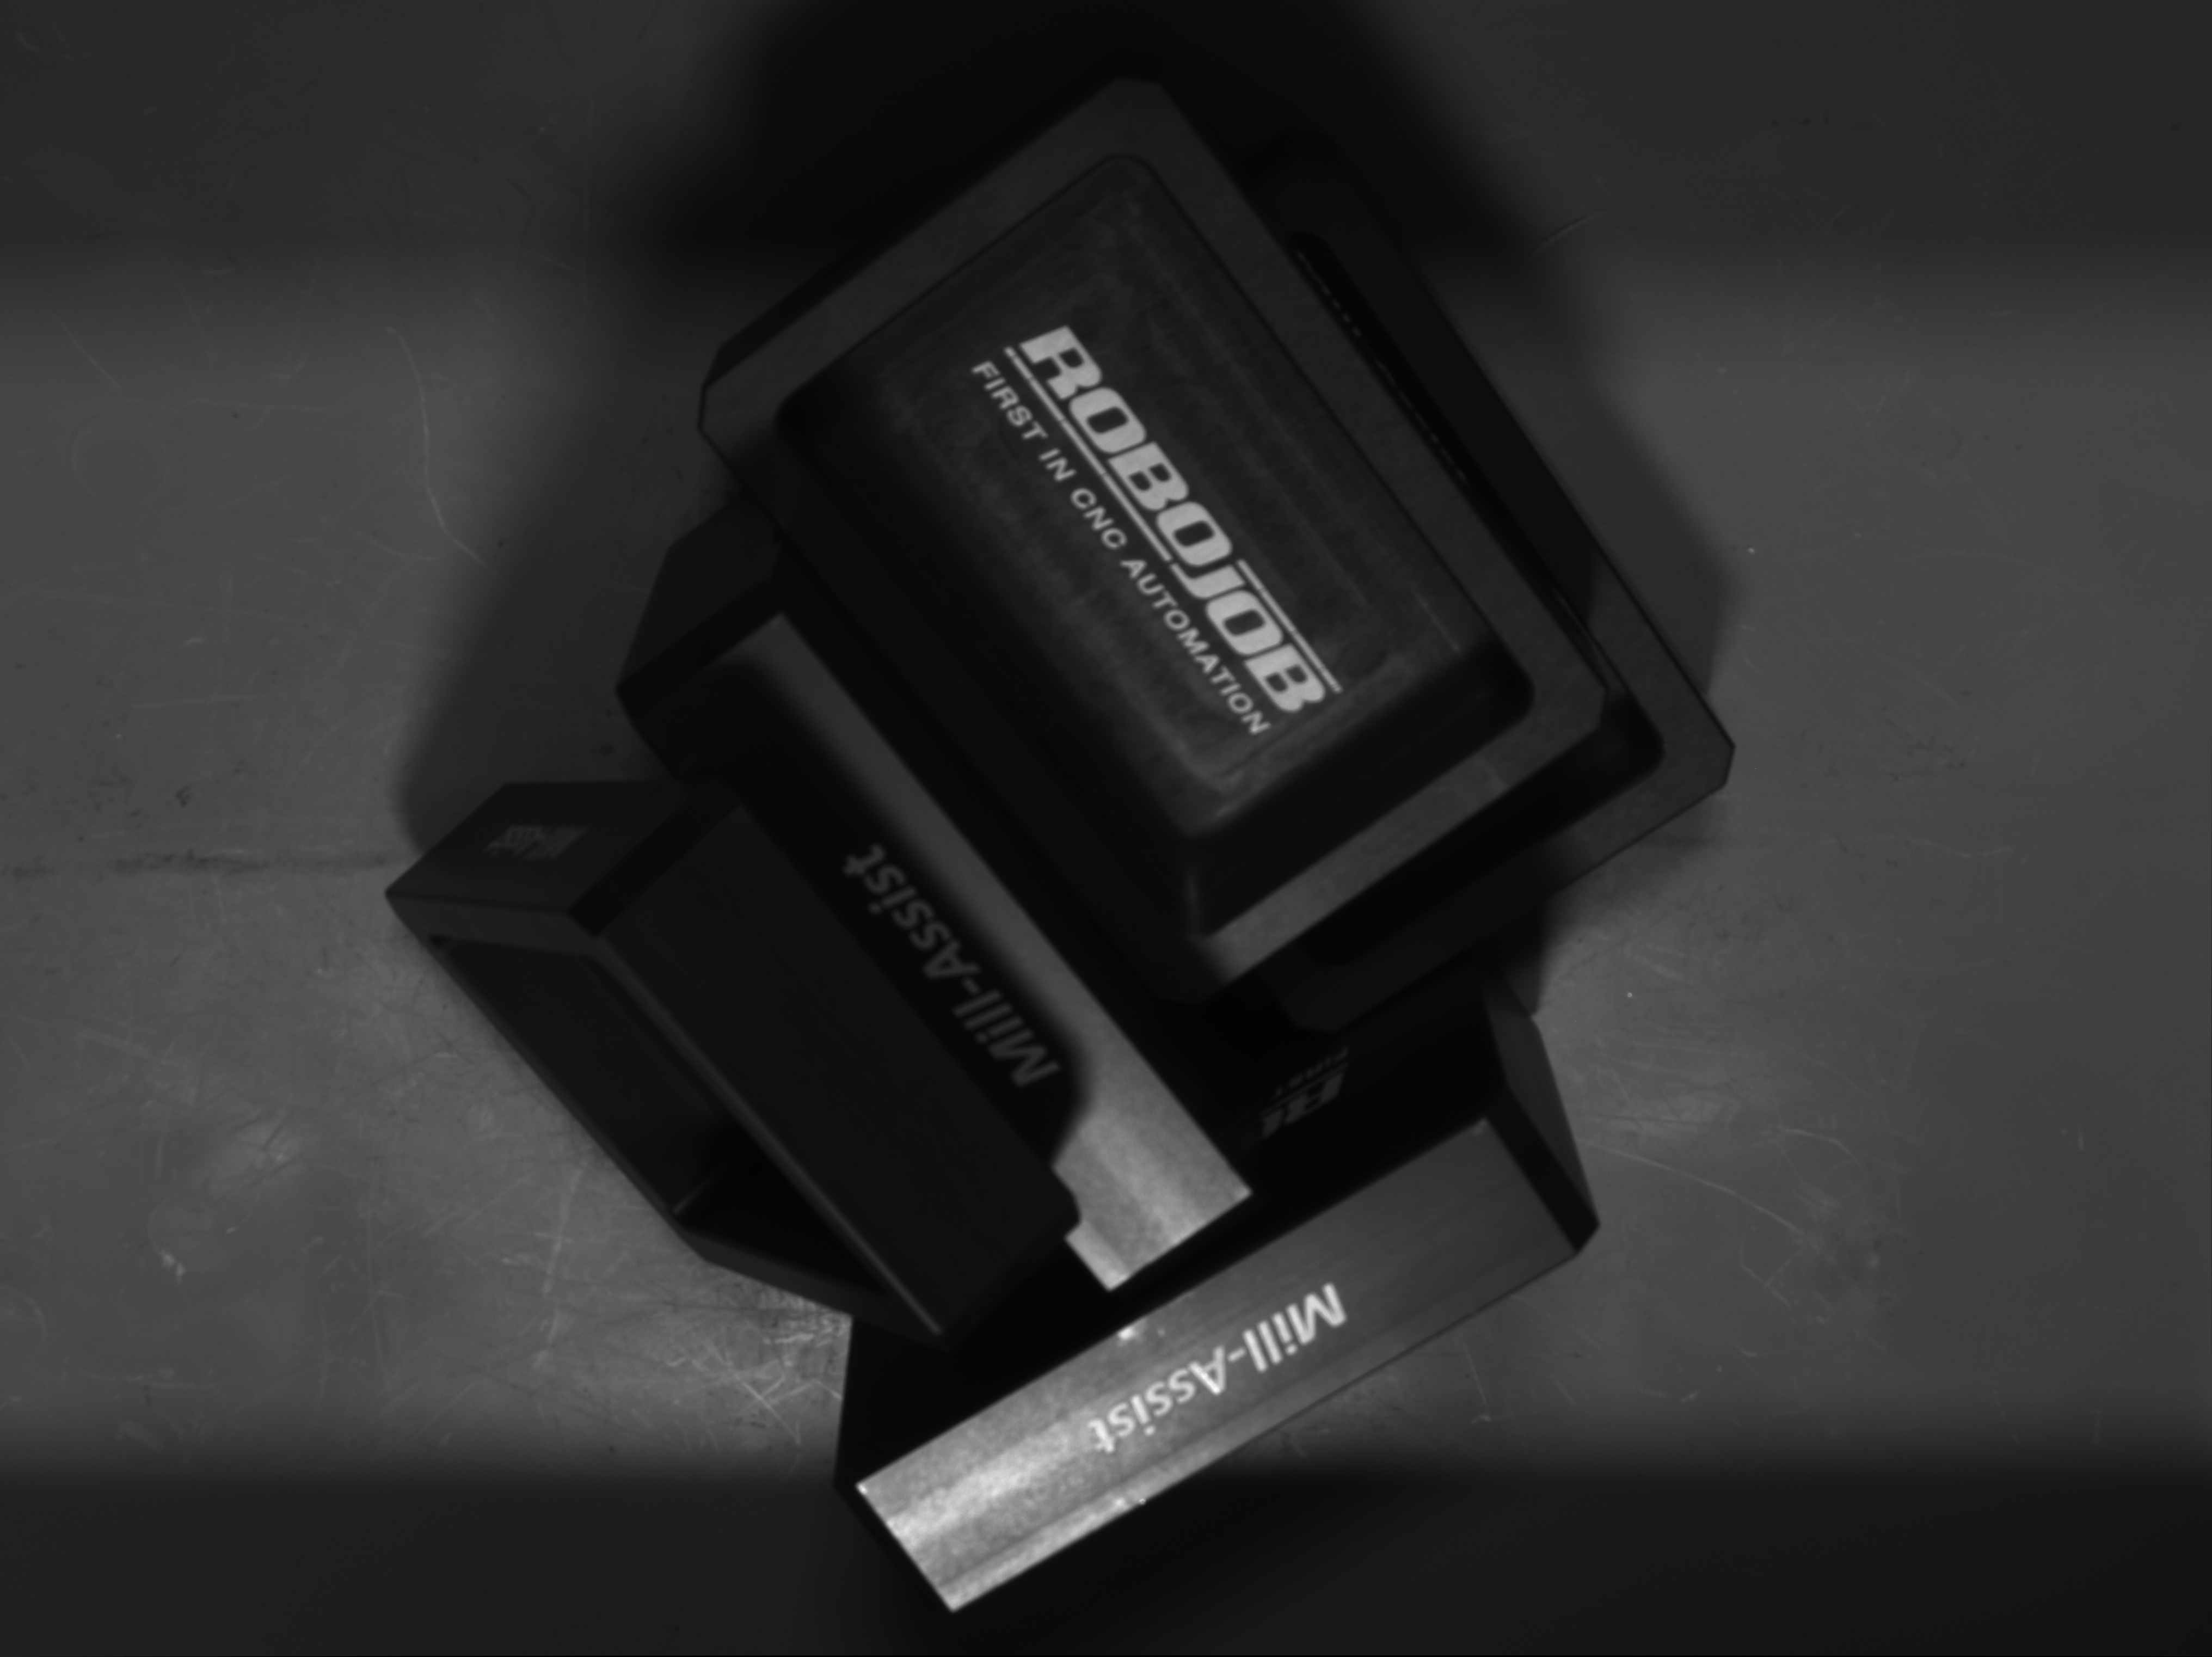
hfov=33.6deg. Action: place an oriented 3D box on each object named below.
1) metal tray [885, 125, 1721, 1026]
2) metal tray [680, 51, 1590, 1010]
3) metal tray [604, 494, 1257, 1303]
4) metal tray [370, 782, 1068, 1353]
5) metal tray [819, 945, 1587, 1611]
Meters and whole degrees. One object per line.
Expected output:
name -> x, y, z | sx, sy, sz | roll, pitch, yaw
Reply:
metal tray -> 0.034, -0.042, 0.626 | 0.090, 0.030, 0.130 | -32, 106, 12
metal tray -> 0.006, -0.046, 0.590 | 0.090, 0.030, 0.130 | -35, 106, 12
metal tray -> -0.026, 0.006, 0.608 | 0.030, 0.090, 0.130 | -35, 107, 11
metal tray -> -0.067, 0.036, 0.600 | 0.030, 0.130, 0.090 | -44, 107, -18
metal tray -> 0.015, 0.073, 0.634 | 0.130, 0.090, 0.030 | -31, 107, 10
